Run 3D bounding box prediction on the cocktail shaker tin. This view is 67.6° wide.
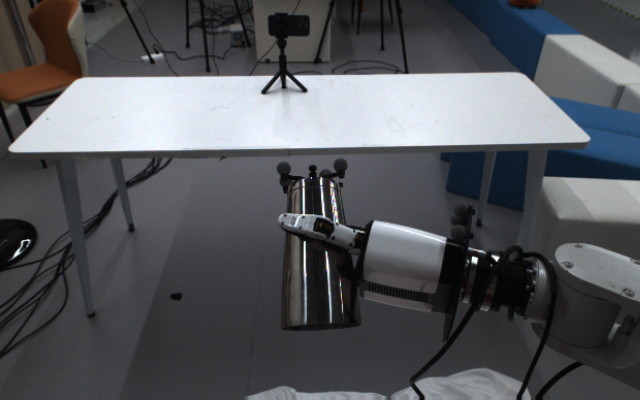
[{"bbox_3d":[-0.002,0.064,0.574,0.093,0.093,0.170,-2,71,-6],"label":"cocktail shaker tin"}]
